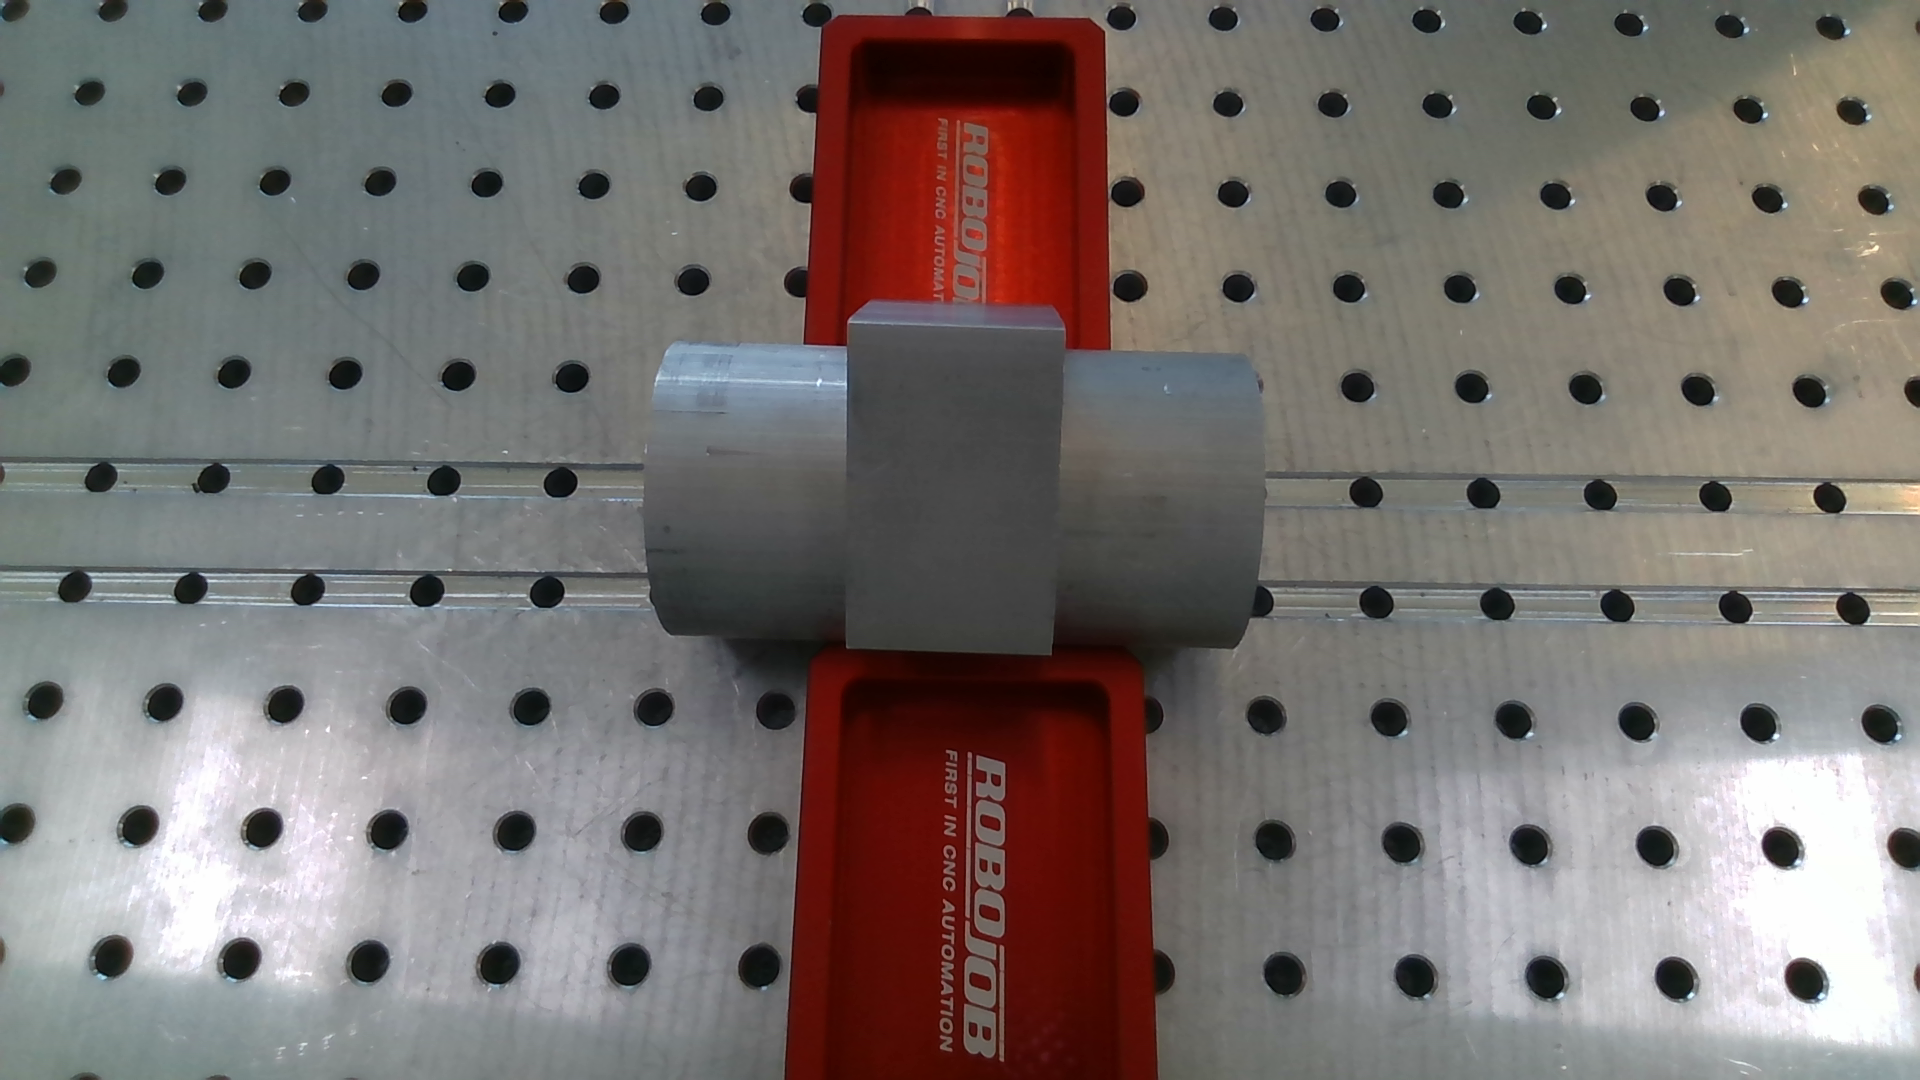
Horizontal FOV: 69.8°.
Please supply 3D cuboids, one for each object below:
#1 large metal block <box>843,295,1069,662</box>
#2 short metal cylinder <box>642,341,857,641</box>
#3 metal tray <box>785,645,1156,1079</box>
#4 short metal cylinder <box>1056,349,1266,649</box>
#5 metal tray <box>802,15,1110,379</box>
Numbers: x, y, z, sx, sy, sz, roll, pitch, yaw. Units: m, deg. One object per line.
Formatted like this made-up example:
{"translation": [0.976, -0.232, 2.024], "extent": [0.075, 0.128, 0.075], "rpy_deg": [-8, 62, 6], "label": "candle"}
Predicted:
{"translation": [-0.001, -0.020, 0.361], "extent": [0.050, 0.080, 0.080], "rpy_deg": [2, 104, 0], "label": "large metal block"}
{"translation": [-0.052, -0.013, 0.373], "extent": [0.050, 0.080, 0.080], "rpy_deg": [2, 70, 1], "label": "short metal cylinder"}
{"translation": [0.003, 0.094, 0.362], "extent": [0.090, 0.030, 0.130], "rpy_deg": [1, 70, 0], "label": "metal tray"}
{"translation": [0.049, -0.011, 0.373], "extent": [0.050, 0.080, 0.080], "rpy_deg": [1, 70, 0], "label": "short metal cylinder"}
{"translation": [0.000, -0.101, 0.431], "extent": [0.090, 0.030, 0.130], "rpy_deg": [1, 70, 0], "label": "metal tray"}
